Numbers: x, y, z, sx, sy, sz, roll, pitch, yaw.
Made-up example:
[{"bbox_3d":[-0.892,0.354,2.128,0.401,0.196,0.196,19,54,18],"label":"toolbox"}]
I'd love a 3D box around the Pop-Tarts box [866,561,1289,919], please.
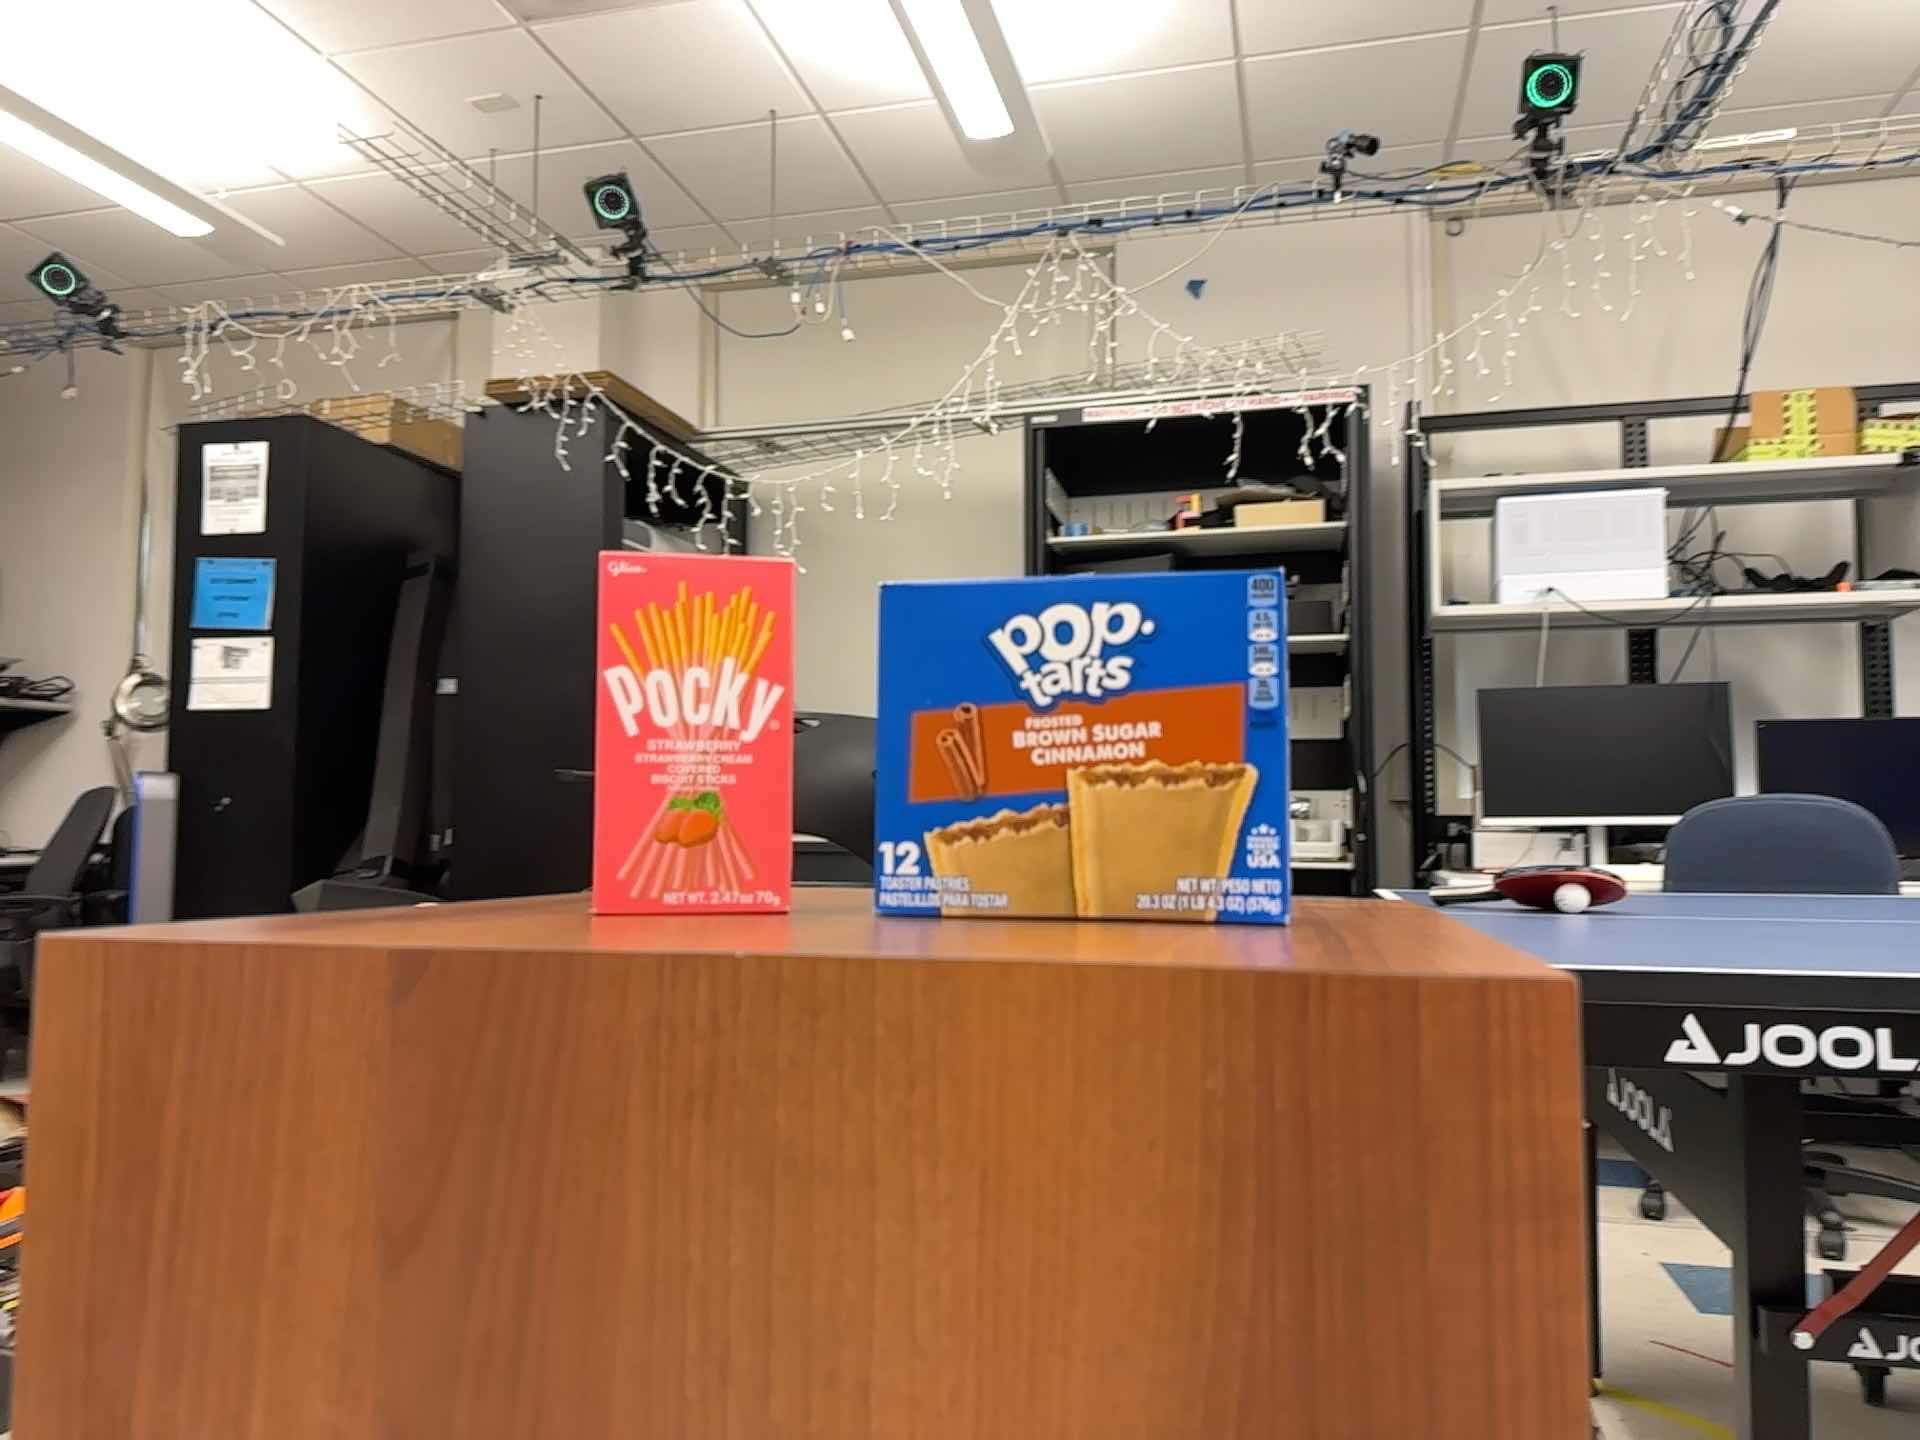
[{"bbox_3d":[0.053,0.011,0.571,0.161,0.135,0.075,0,-7,13],"label":"Pop-Tarts box"}]

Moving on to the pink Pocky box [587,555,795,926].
[{"bbox_3d":[-0.113,0.009,0.572,0.084,0.155,0.029,1,-4,-8],"label":"pink Pocky box"}]
